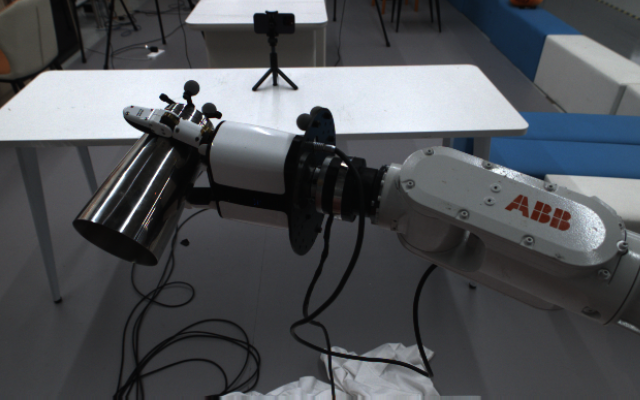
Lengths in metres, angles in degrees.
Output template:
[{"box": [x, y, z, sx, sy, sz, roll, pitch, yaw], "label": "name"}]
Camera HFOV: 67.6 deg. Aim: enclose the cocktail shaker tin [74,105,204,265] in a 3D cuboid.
[{"box": [-0.181, -0.025, 0.535, 0.093, 0.093, 0.170, 13, 59, 15], "label": "cocktail shaker tin"}]
